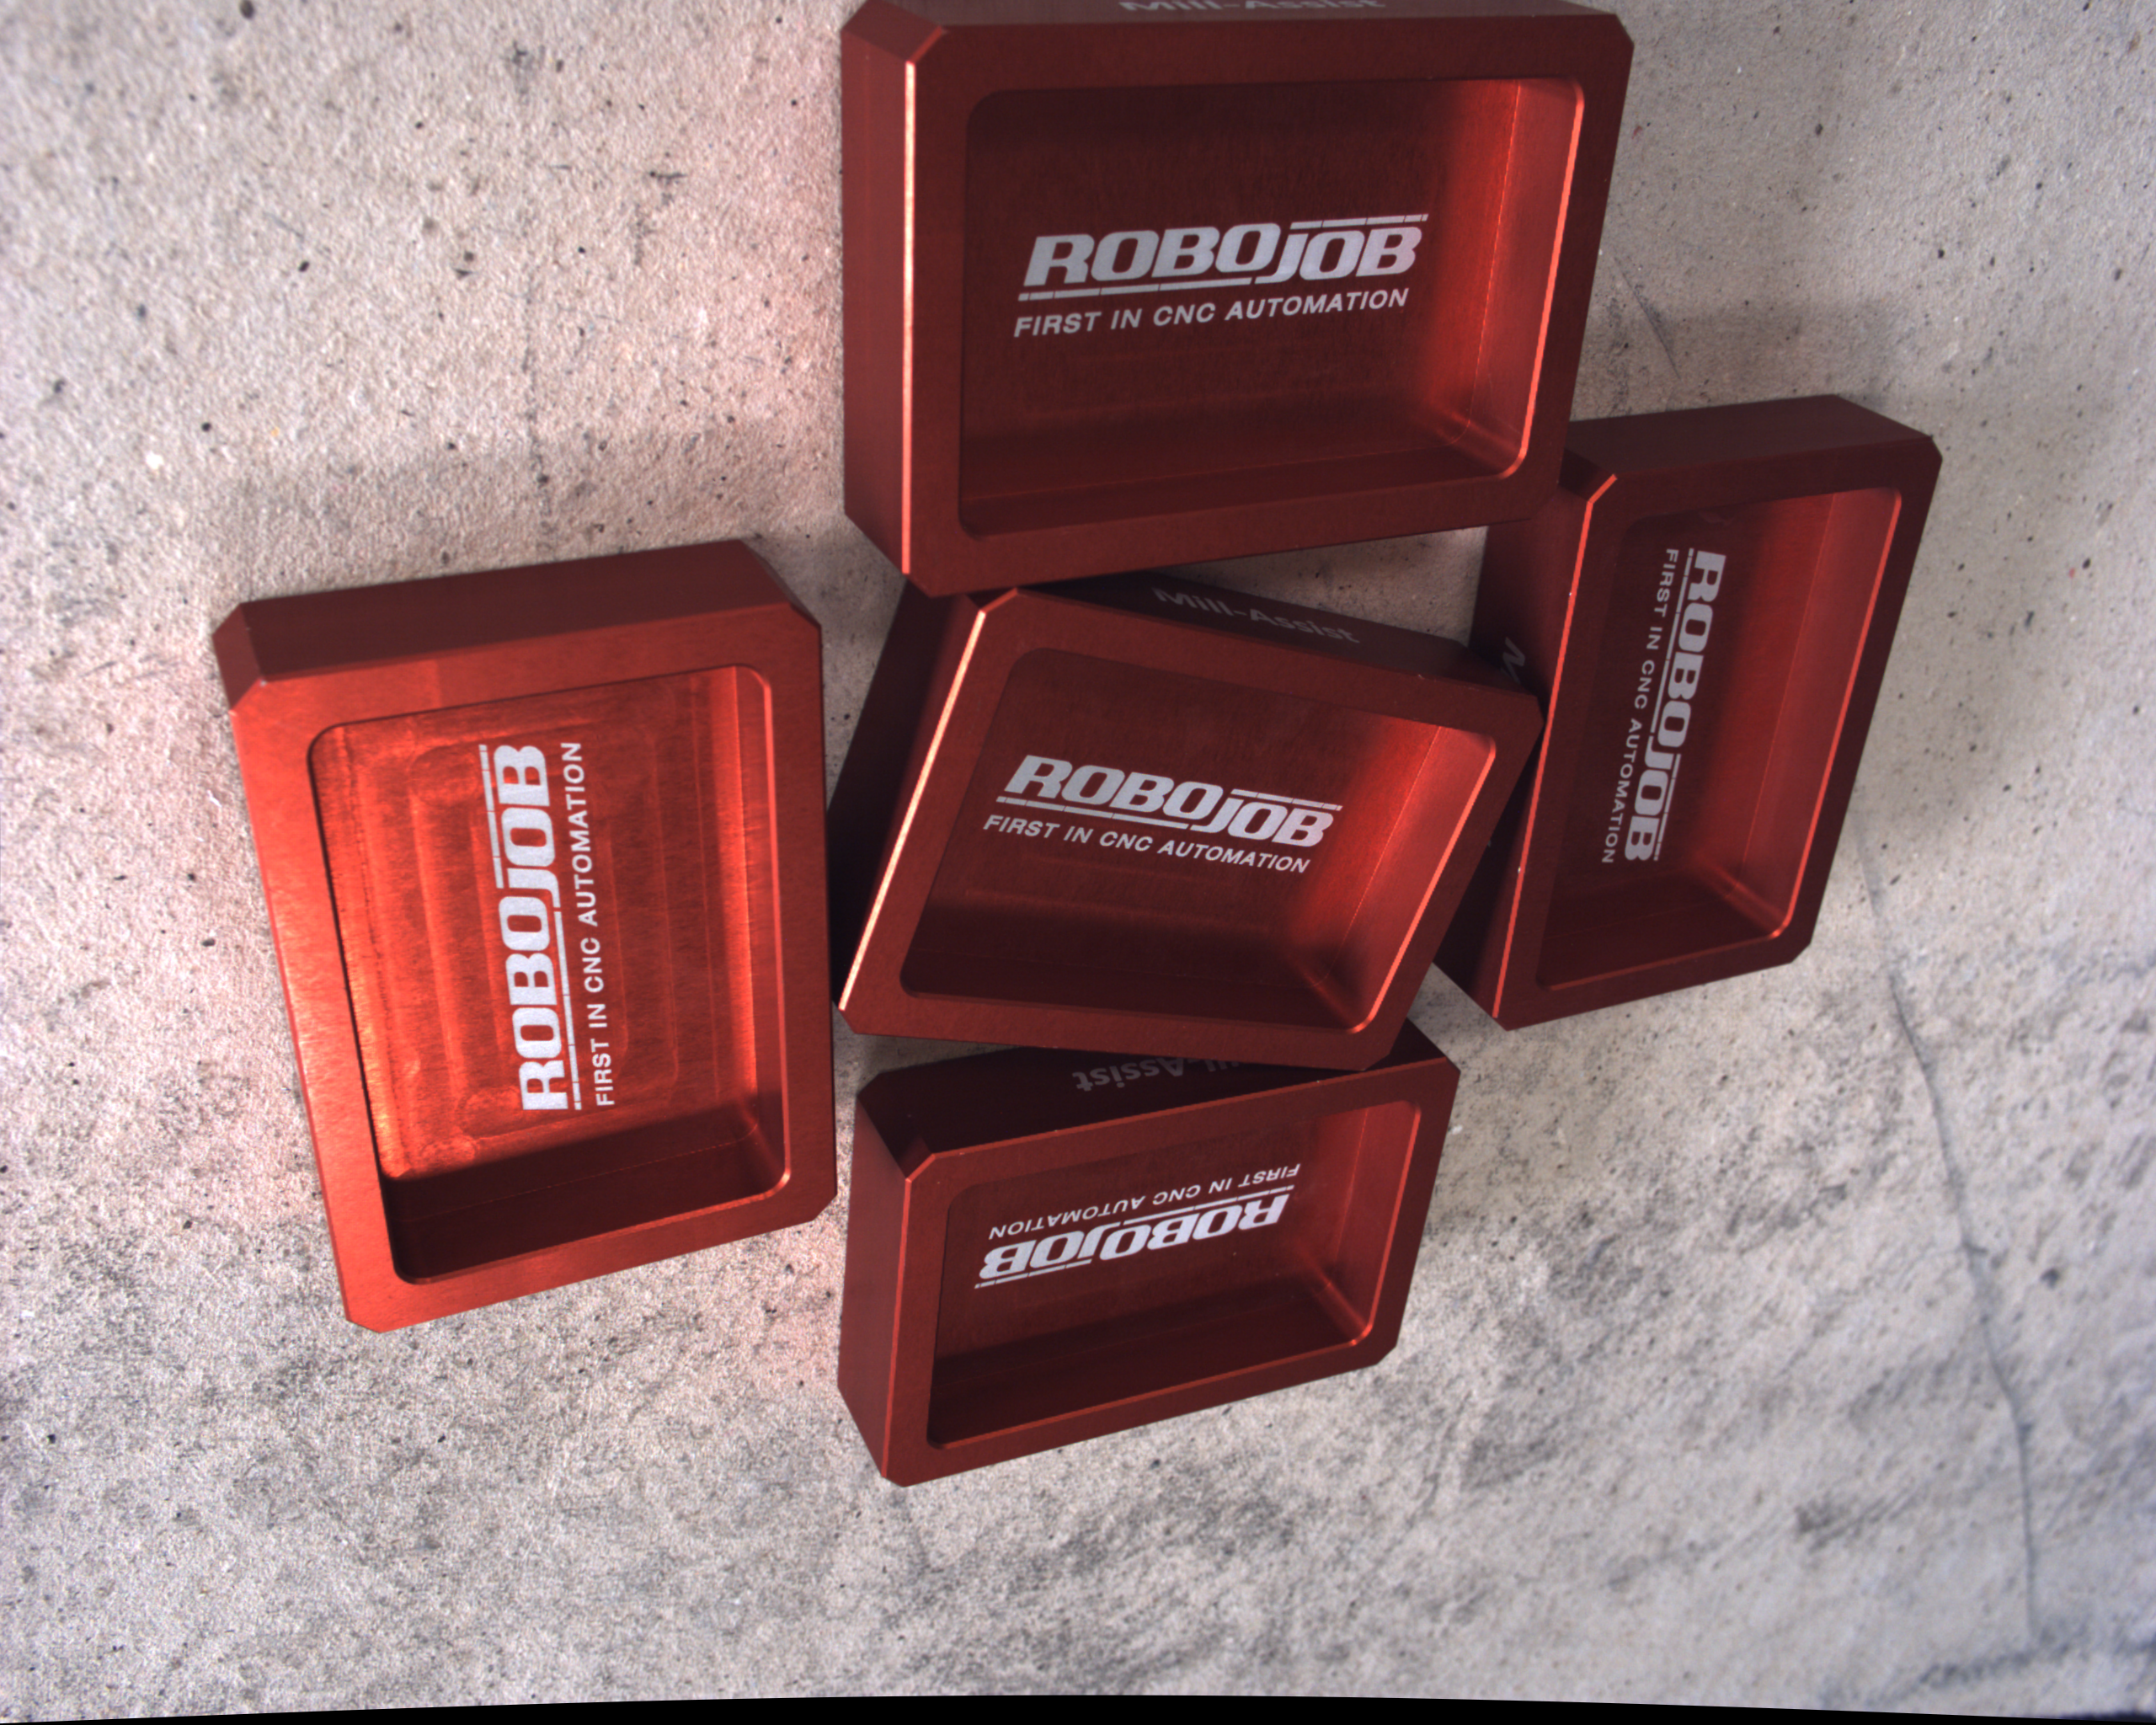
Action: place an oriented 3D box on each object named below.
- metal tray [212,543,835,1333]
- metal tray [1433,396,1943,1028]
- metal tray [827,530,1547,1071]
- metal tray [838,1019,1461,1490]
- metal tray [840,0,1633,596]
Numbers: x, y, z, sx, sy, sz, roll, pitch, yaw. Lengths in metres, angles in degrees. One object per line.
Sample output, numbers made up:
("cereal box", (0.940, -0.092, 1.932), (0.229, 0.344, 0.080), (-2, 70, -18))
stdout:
("metal tray", (-0.091, 0.015, 0.364), (0.091, 0.030, 0.129), (-11, 124, -22))
("metal tray", (0.129, -0.032, 0.456), (0.091, 0.030, 0.129), (-10, 123, -22))
("metal tray", (0.019, -0.008, 0.410), (0.131, 0.030, 0.089), (8, 116, -31))
("metal tray", (0.015, 0.083, 0.464), (0.131, 0.030, 0.089), (-7, 122, -24))
("metal tray", (0.026, -0.099, 0.358), (0.131, 0.030, 0.089), (-10, 123, -22))
